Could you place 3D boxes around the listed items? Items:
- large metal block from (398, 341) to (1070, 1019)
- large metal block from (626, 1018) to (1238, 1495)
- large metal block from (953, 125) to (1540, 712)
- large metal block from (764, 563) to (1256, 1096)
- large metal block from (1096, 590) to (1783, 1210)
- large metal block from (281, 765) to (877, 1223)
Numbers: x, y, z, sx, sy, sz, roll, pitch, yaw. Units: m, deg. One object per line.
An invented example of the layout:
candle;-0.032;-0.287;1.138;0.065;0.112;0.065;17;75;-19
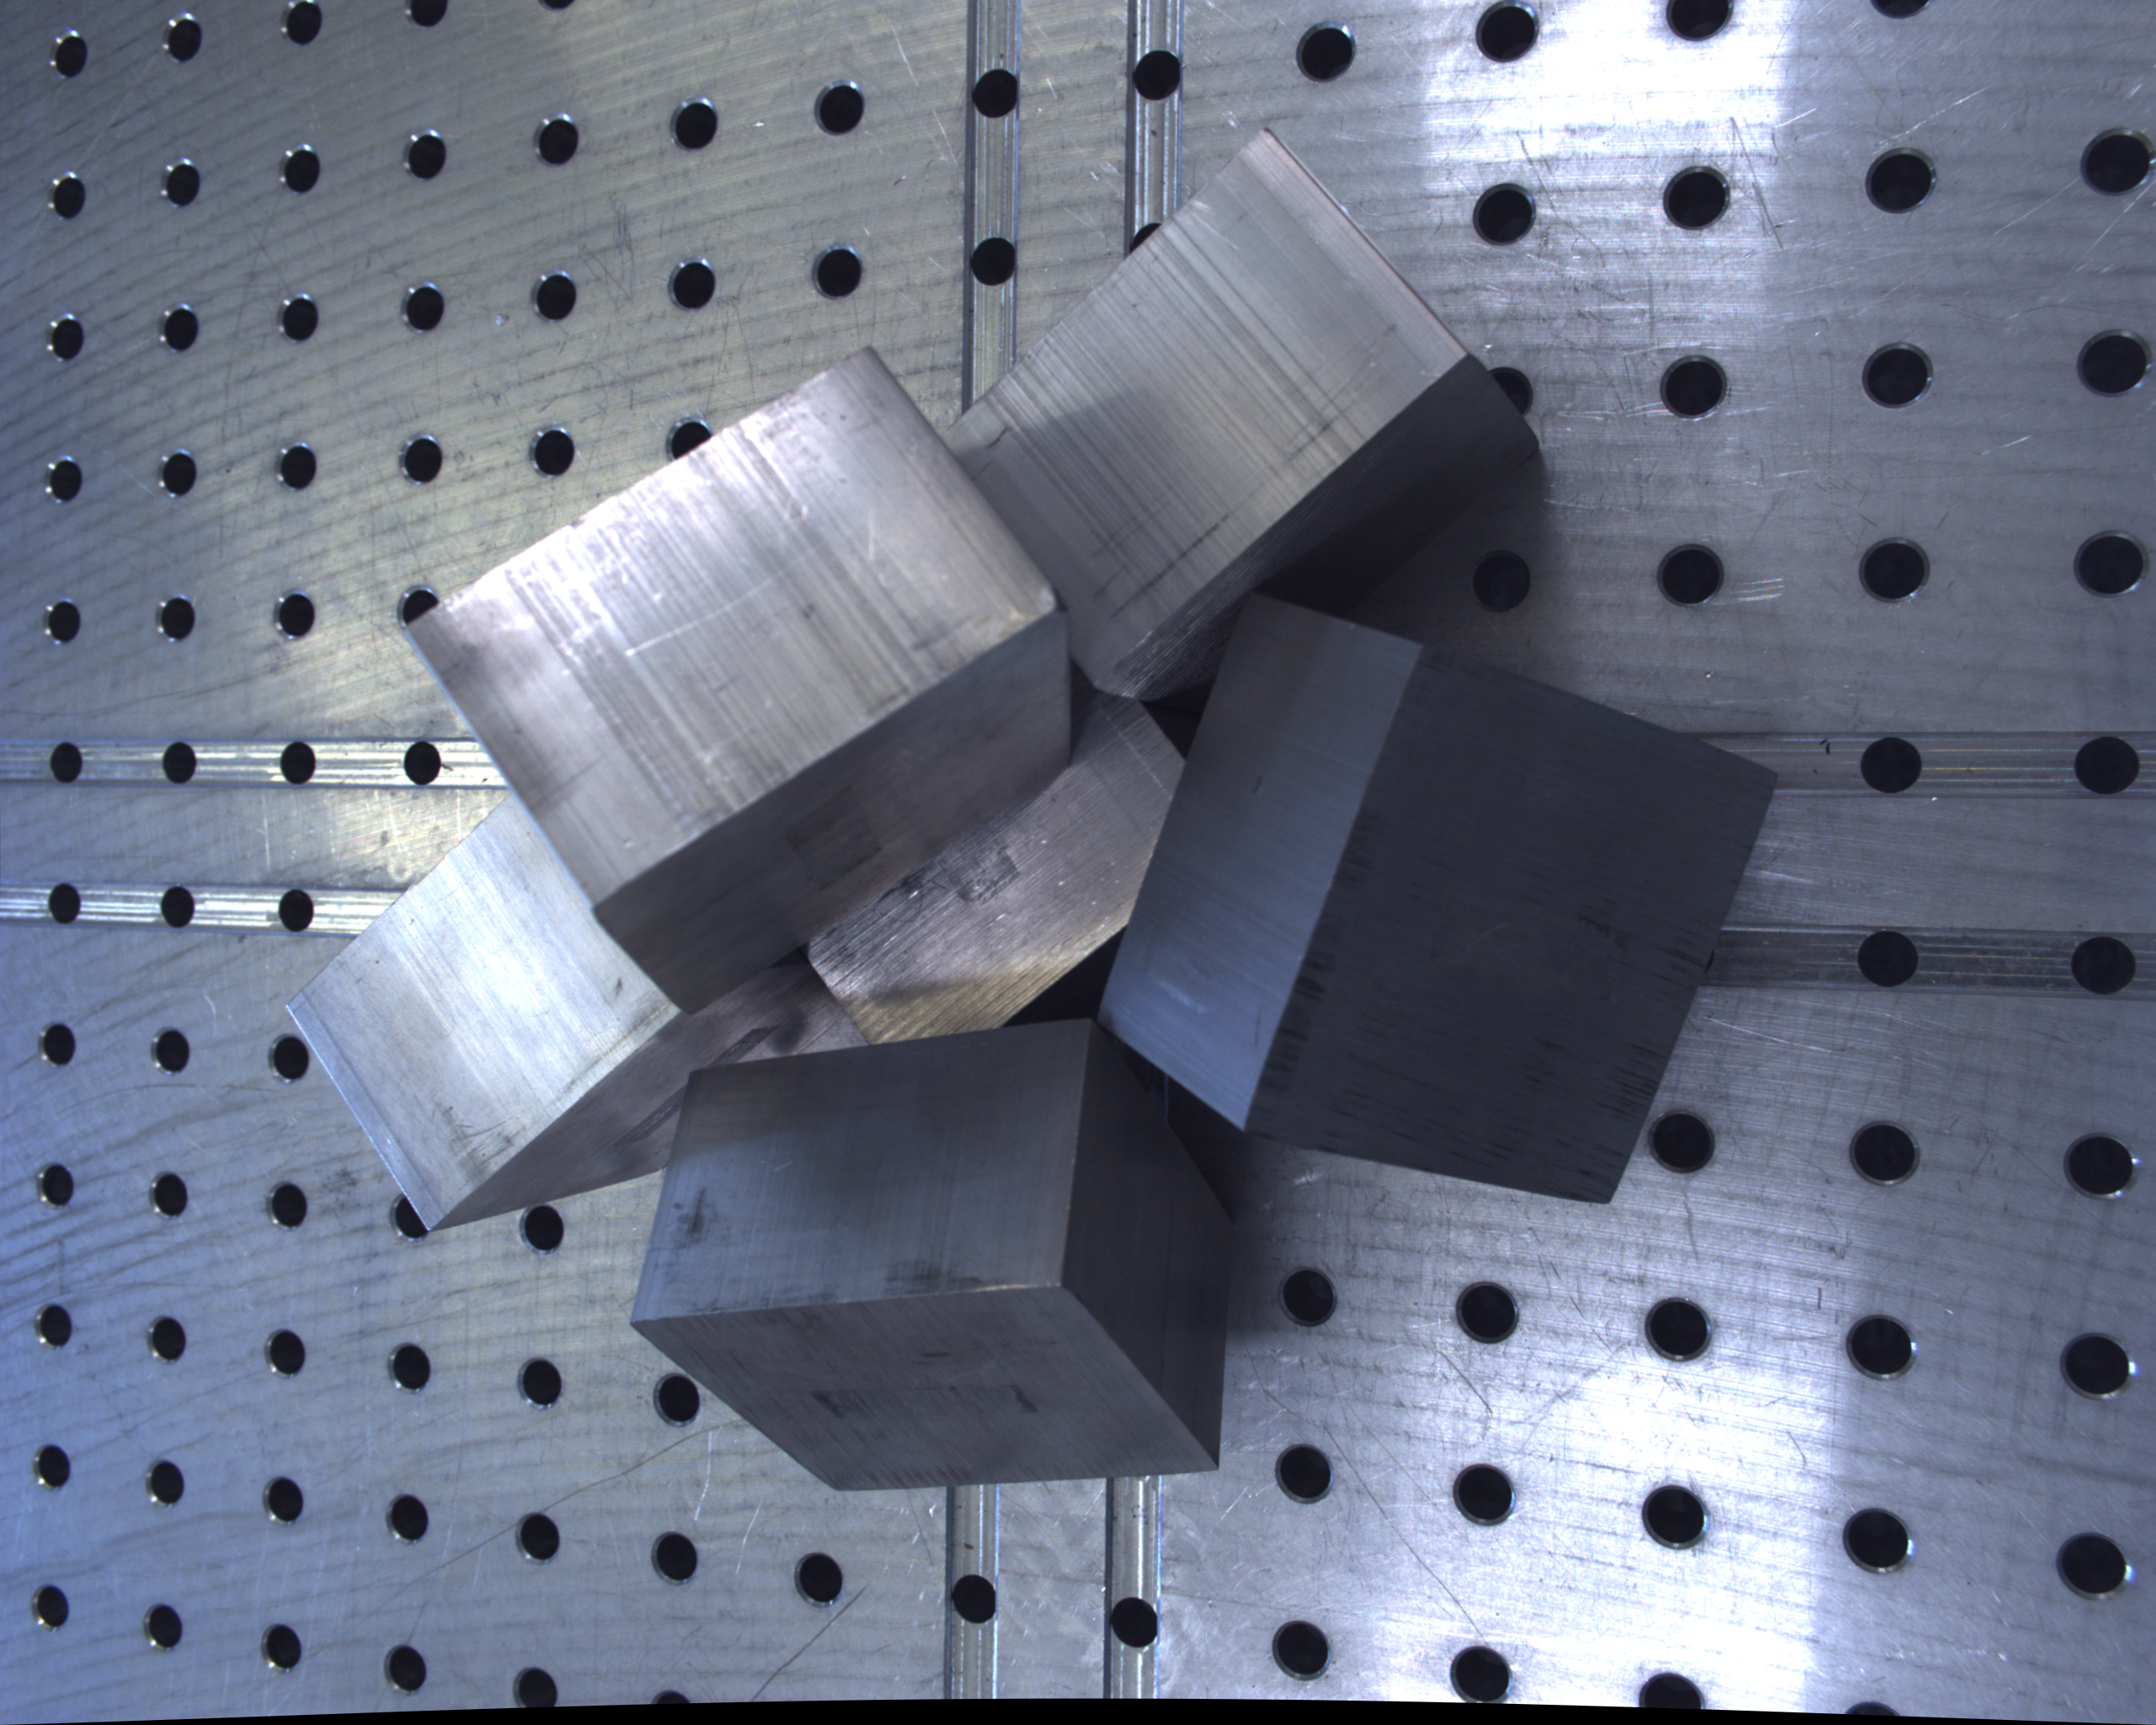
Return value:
large metal block;-0.049;-0.025;0.334;0.080;0.080;0.050;-34;78;-9
large metal block;-0.022;0.076;0.384;0.080;0.080;0.050;-9;51;20
large metal block;0.030;-0.073;0.373;0.080;0.080;0.050;-41;78;15
large metal block;-0.015;-0.011;0.406;0.080;0.050;0.080;-41;77;15
large metal block;0.060;0.007;0.355;0.050;0.081;0.080;31;104;59
large metal block;-0.092;0.022;0.415;0.080;0.080;0.050;-40;78;15
